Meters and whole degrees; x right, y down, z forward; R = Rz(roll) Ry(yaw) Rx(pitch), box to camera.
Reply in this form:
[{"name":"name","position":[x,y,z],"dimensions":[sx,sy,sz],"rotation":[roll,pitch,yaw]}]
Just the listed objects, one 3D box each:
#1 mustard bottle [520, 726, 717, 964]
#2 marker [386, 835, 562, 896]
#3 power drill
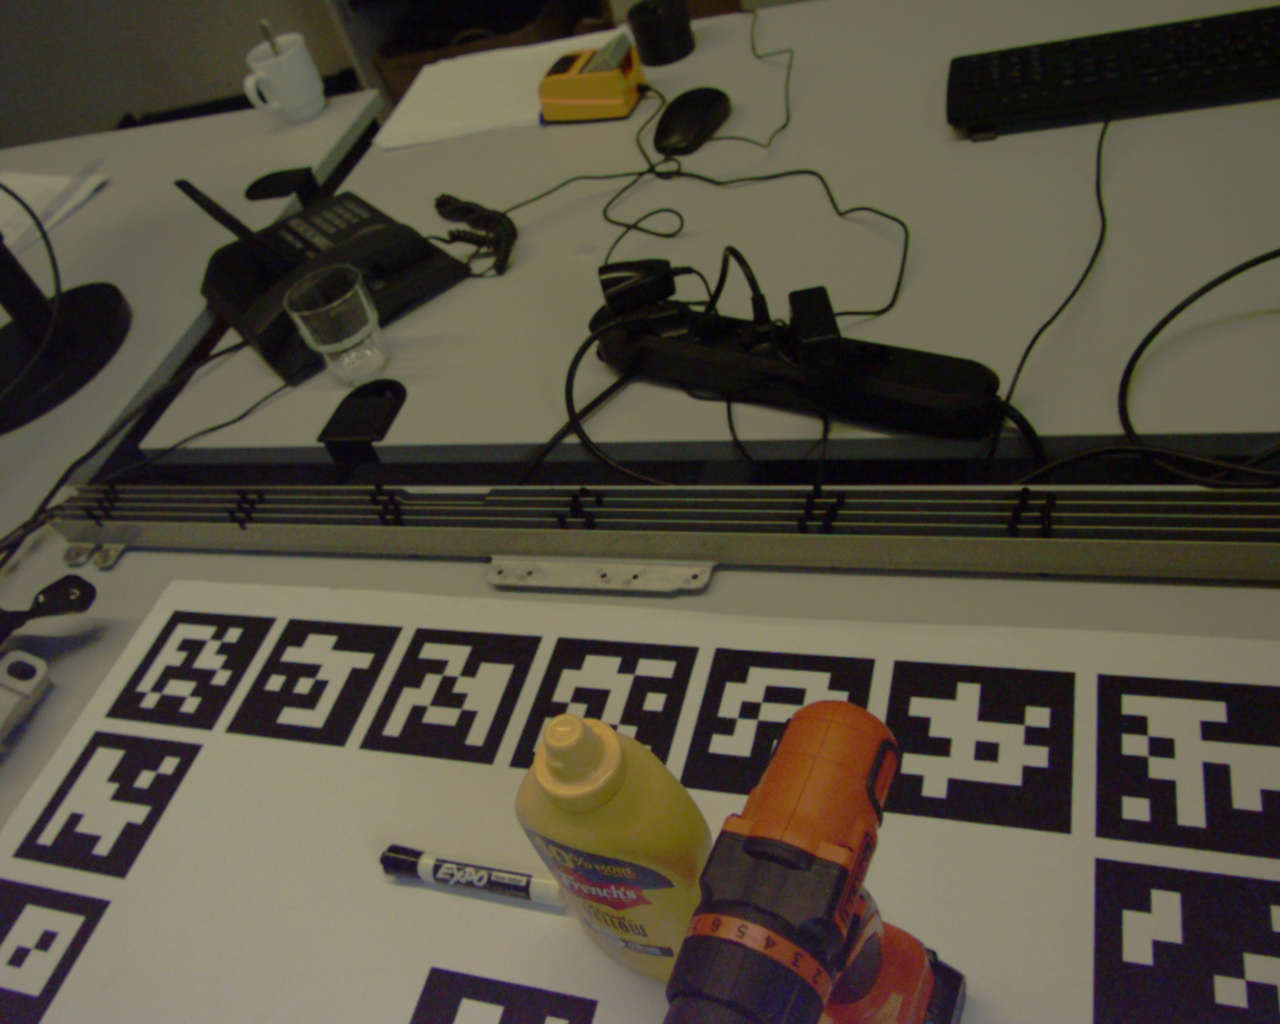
[{"name":"mustard bottle","position":[-0.011,0.170,0.597],"dimensions":[0.097,0.190,0.058],"rotation":[11,52,27]},{"name":"marker","position":[-0.105,0.219,0.709],"dimensions":[0.122,0.019,0.019],"rotation":[2,50,23]},{"name":"power drill","position":[0.068,0.208,0.506],"dimensions":[0.058,0.185,0.183],"rotation":[13,51,28]}]
